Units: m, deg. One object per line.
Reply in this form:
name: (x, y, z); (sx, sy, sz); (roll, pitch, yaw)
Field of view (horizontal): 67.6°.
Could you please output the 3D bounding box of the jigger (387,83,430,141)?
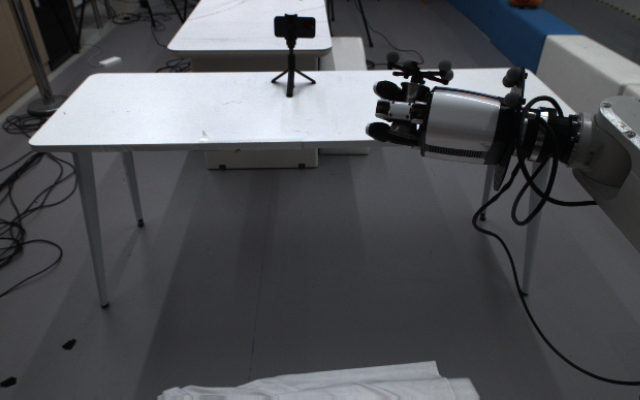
jigger: (0.123, -0.120, 0.656); (0.043, 0.071, 0.043); (14, 1, 0)
